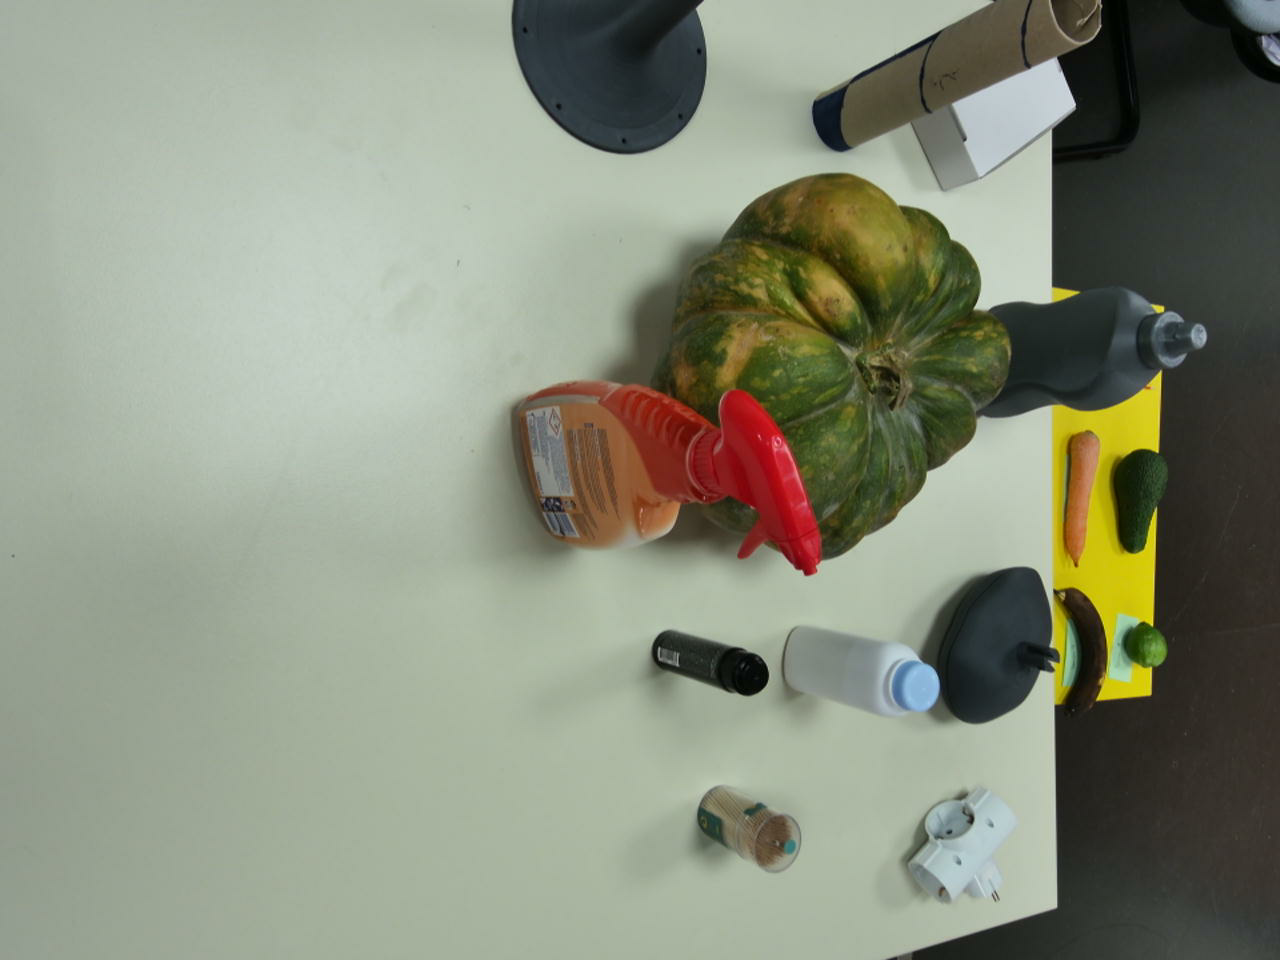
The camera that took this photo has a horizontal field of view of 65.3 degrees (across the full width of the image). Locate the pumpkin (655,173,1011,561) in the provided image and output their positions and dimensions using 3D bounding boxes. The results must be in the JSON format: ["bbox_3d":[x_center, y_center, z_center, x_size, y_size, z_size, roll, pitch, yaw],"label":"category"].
[{"bbox_3d":[0.130,-0.075,0.685,0.237,0.173,0.270,40,73,-23],"label":"pumpkin"}]
